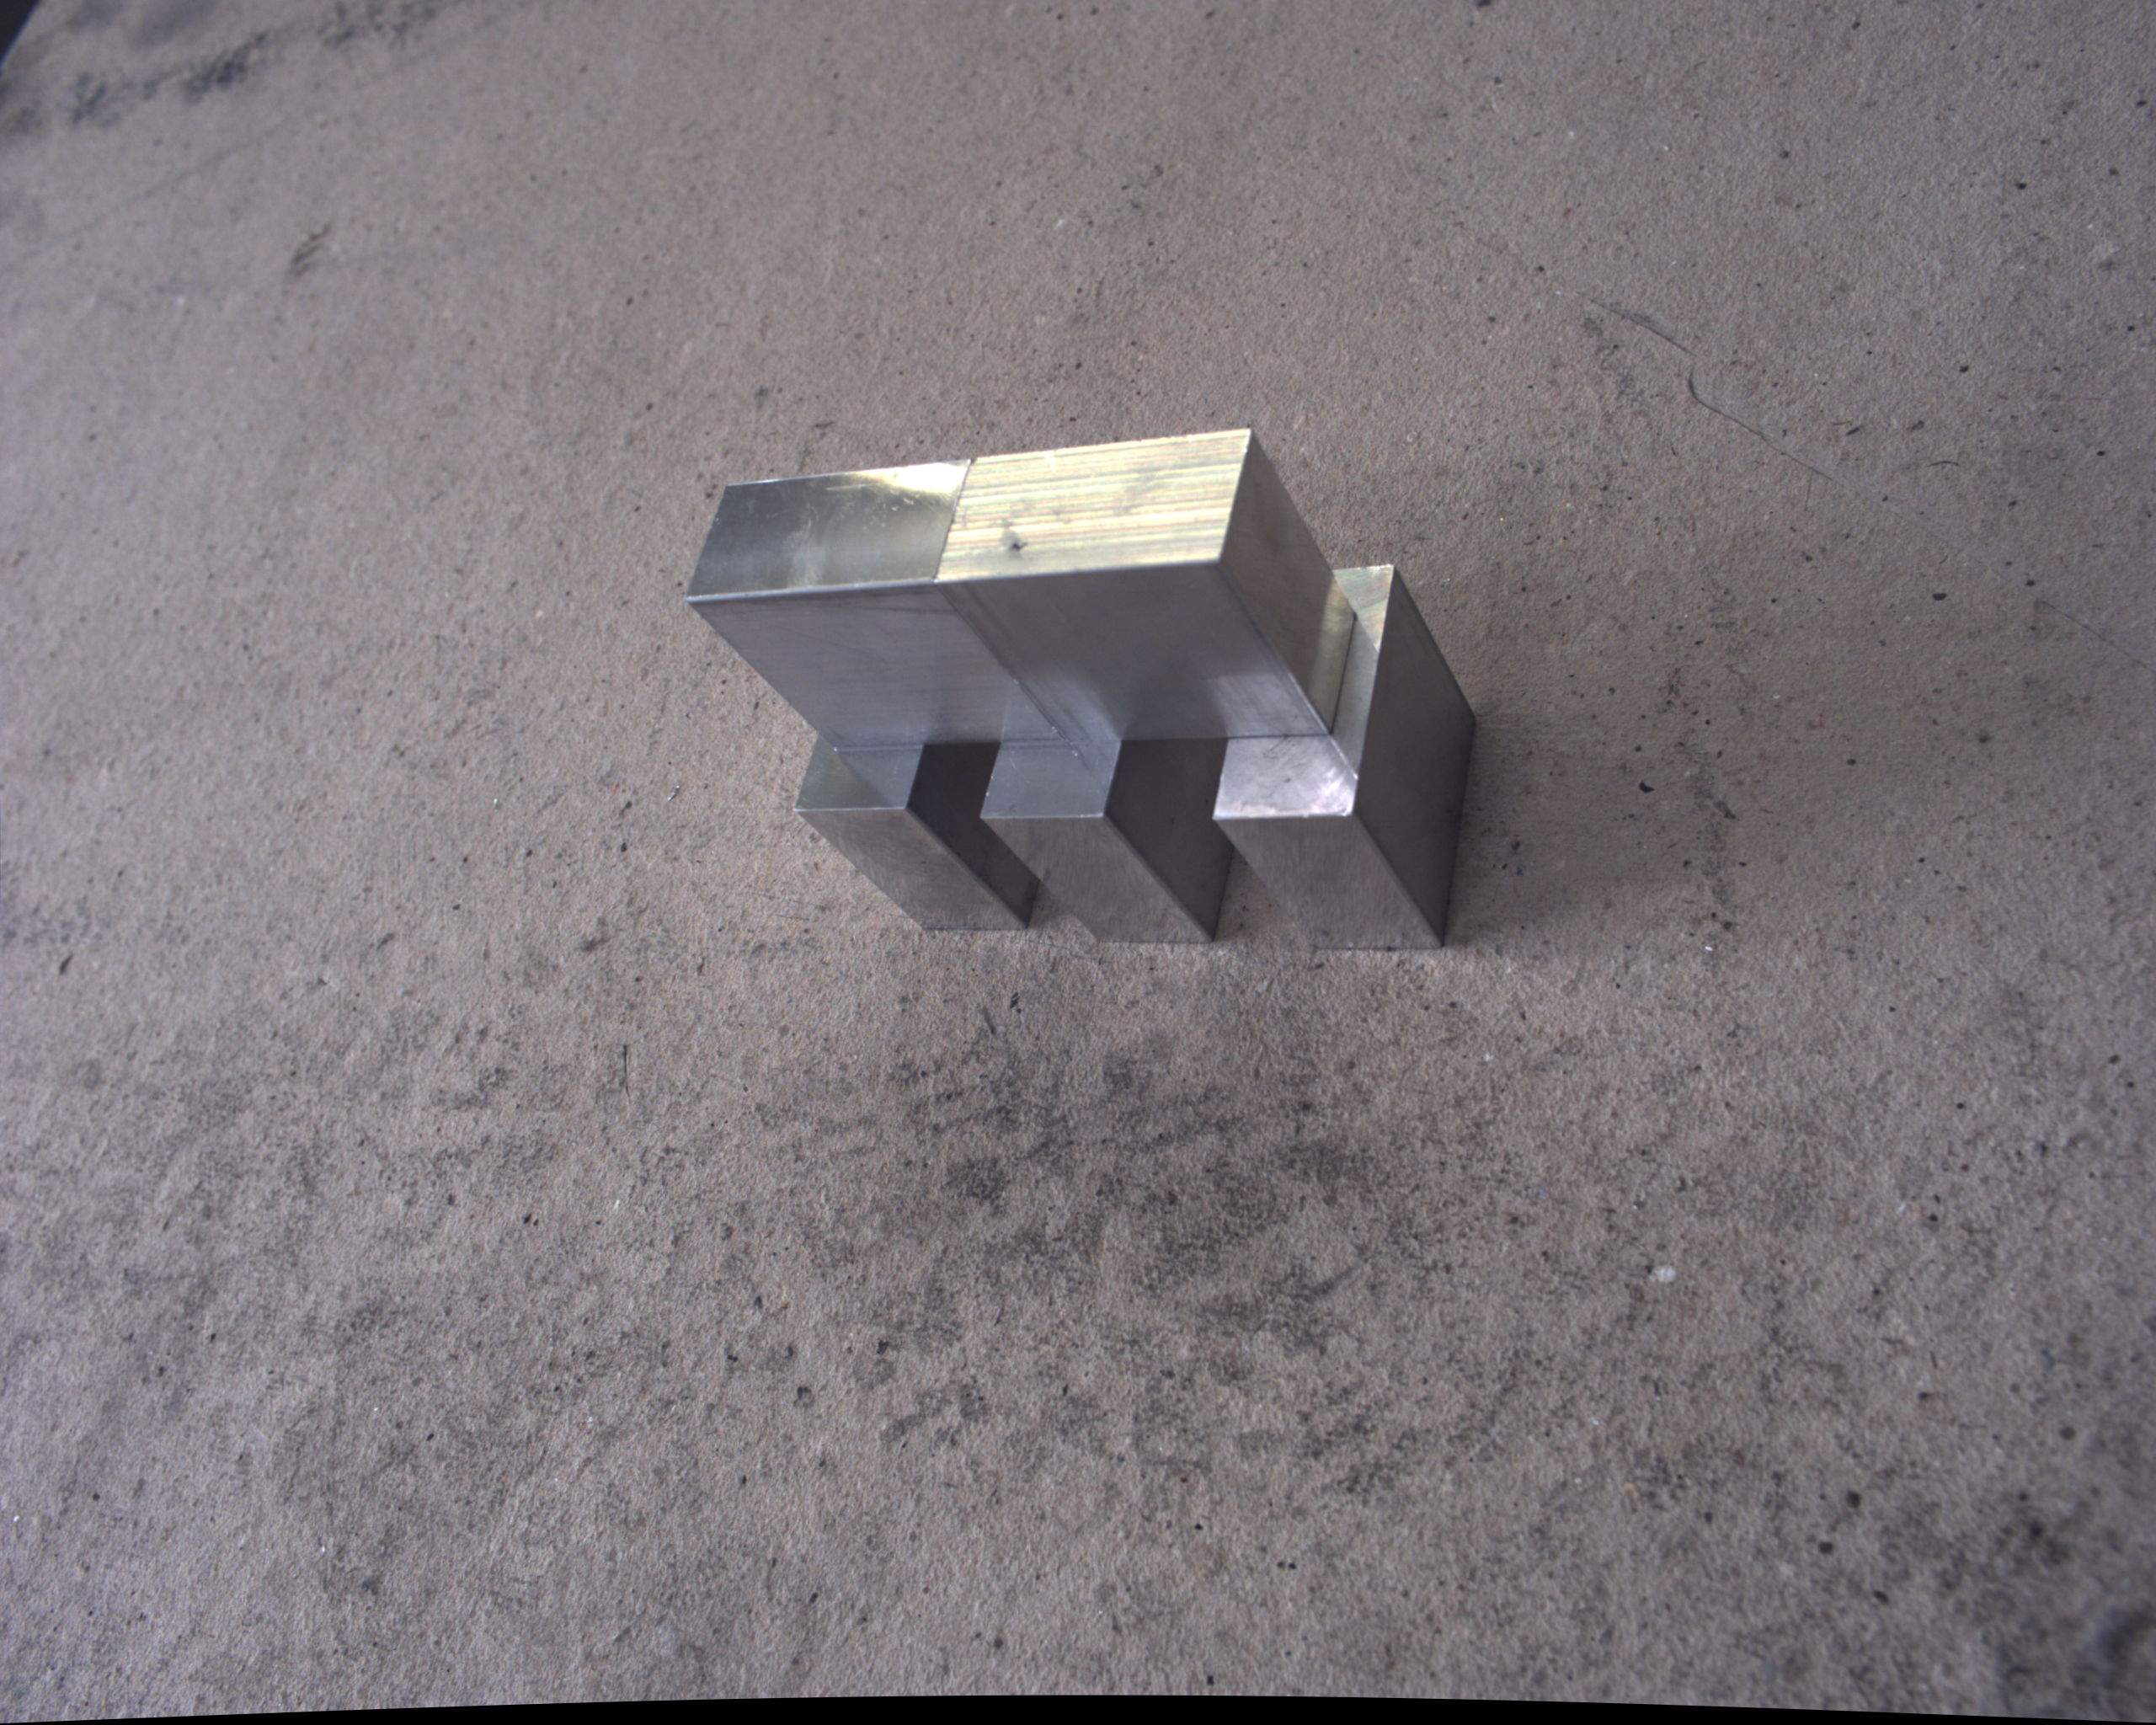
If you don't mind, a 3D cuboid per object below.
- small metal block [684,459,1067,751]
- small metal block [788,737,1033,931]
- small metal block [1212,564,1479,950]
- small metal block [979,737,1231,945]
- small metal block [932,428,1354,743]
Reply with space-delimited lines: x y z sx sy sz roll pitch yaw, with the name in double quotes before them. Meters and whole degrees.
"small metal block" -0.032 -0.044 0.370 0.050 0.050 0.025 0 62 28
"small metal block" -0.027 -0.020 0.415 0.025 0.050 0.050 -1 61 29
"small metal block" 0.050 -0.018 0.374 0.025 0.050 0.050 -2 61 28
"small metal block" 0.009 -0.018 0.396 0.025 0.050 0.050 -2 61 28
"small metal block" 0.012 -0.044 0.346 0.050 0.050 0.025 0 62 28
